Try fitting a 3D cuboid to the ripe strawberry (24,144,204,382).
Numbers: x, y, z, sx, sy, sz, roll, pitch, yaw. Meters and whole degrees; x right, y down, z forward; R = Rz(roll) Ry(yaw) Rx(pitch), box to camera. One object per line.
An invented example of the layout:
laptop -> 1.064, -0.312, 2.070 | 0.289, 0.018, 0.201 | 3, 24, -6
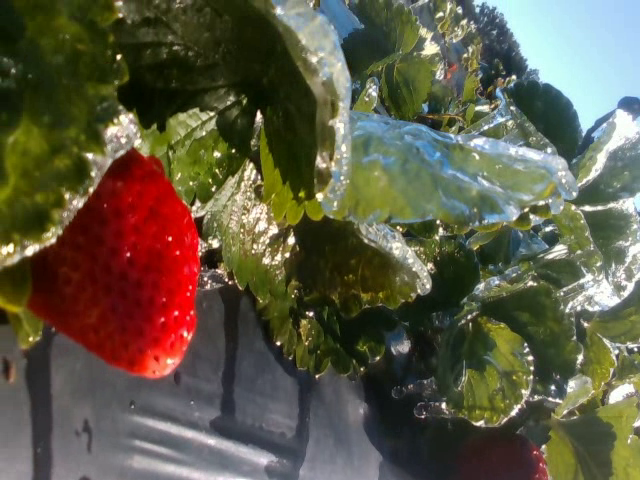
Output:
ripe strawberry -> -0.036, 0.005, 0.102 | 0.037, 0.040, 0.051 | 31, 9, -45
